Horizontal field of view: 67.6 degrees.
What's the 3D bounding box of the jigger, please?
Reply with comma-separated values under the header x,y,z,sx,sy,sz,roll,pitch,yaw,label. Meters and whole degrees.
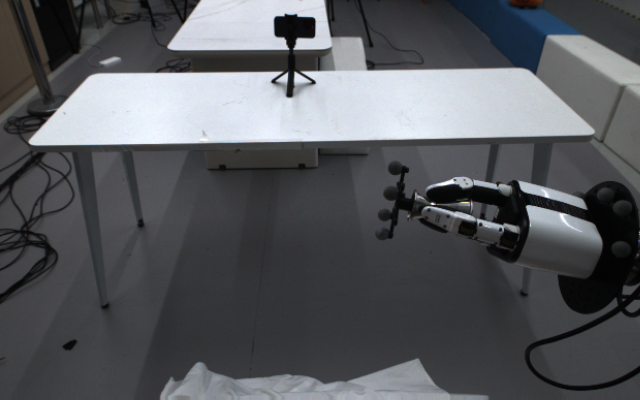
x,y,z,sx,sy,sz,roll,pitch,yaw,label
0.149,0.011,0.583,0.071,0.043,0.043,12,35,4,jigger
